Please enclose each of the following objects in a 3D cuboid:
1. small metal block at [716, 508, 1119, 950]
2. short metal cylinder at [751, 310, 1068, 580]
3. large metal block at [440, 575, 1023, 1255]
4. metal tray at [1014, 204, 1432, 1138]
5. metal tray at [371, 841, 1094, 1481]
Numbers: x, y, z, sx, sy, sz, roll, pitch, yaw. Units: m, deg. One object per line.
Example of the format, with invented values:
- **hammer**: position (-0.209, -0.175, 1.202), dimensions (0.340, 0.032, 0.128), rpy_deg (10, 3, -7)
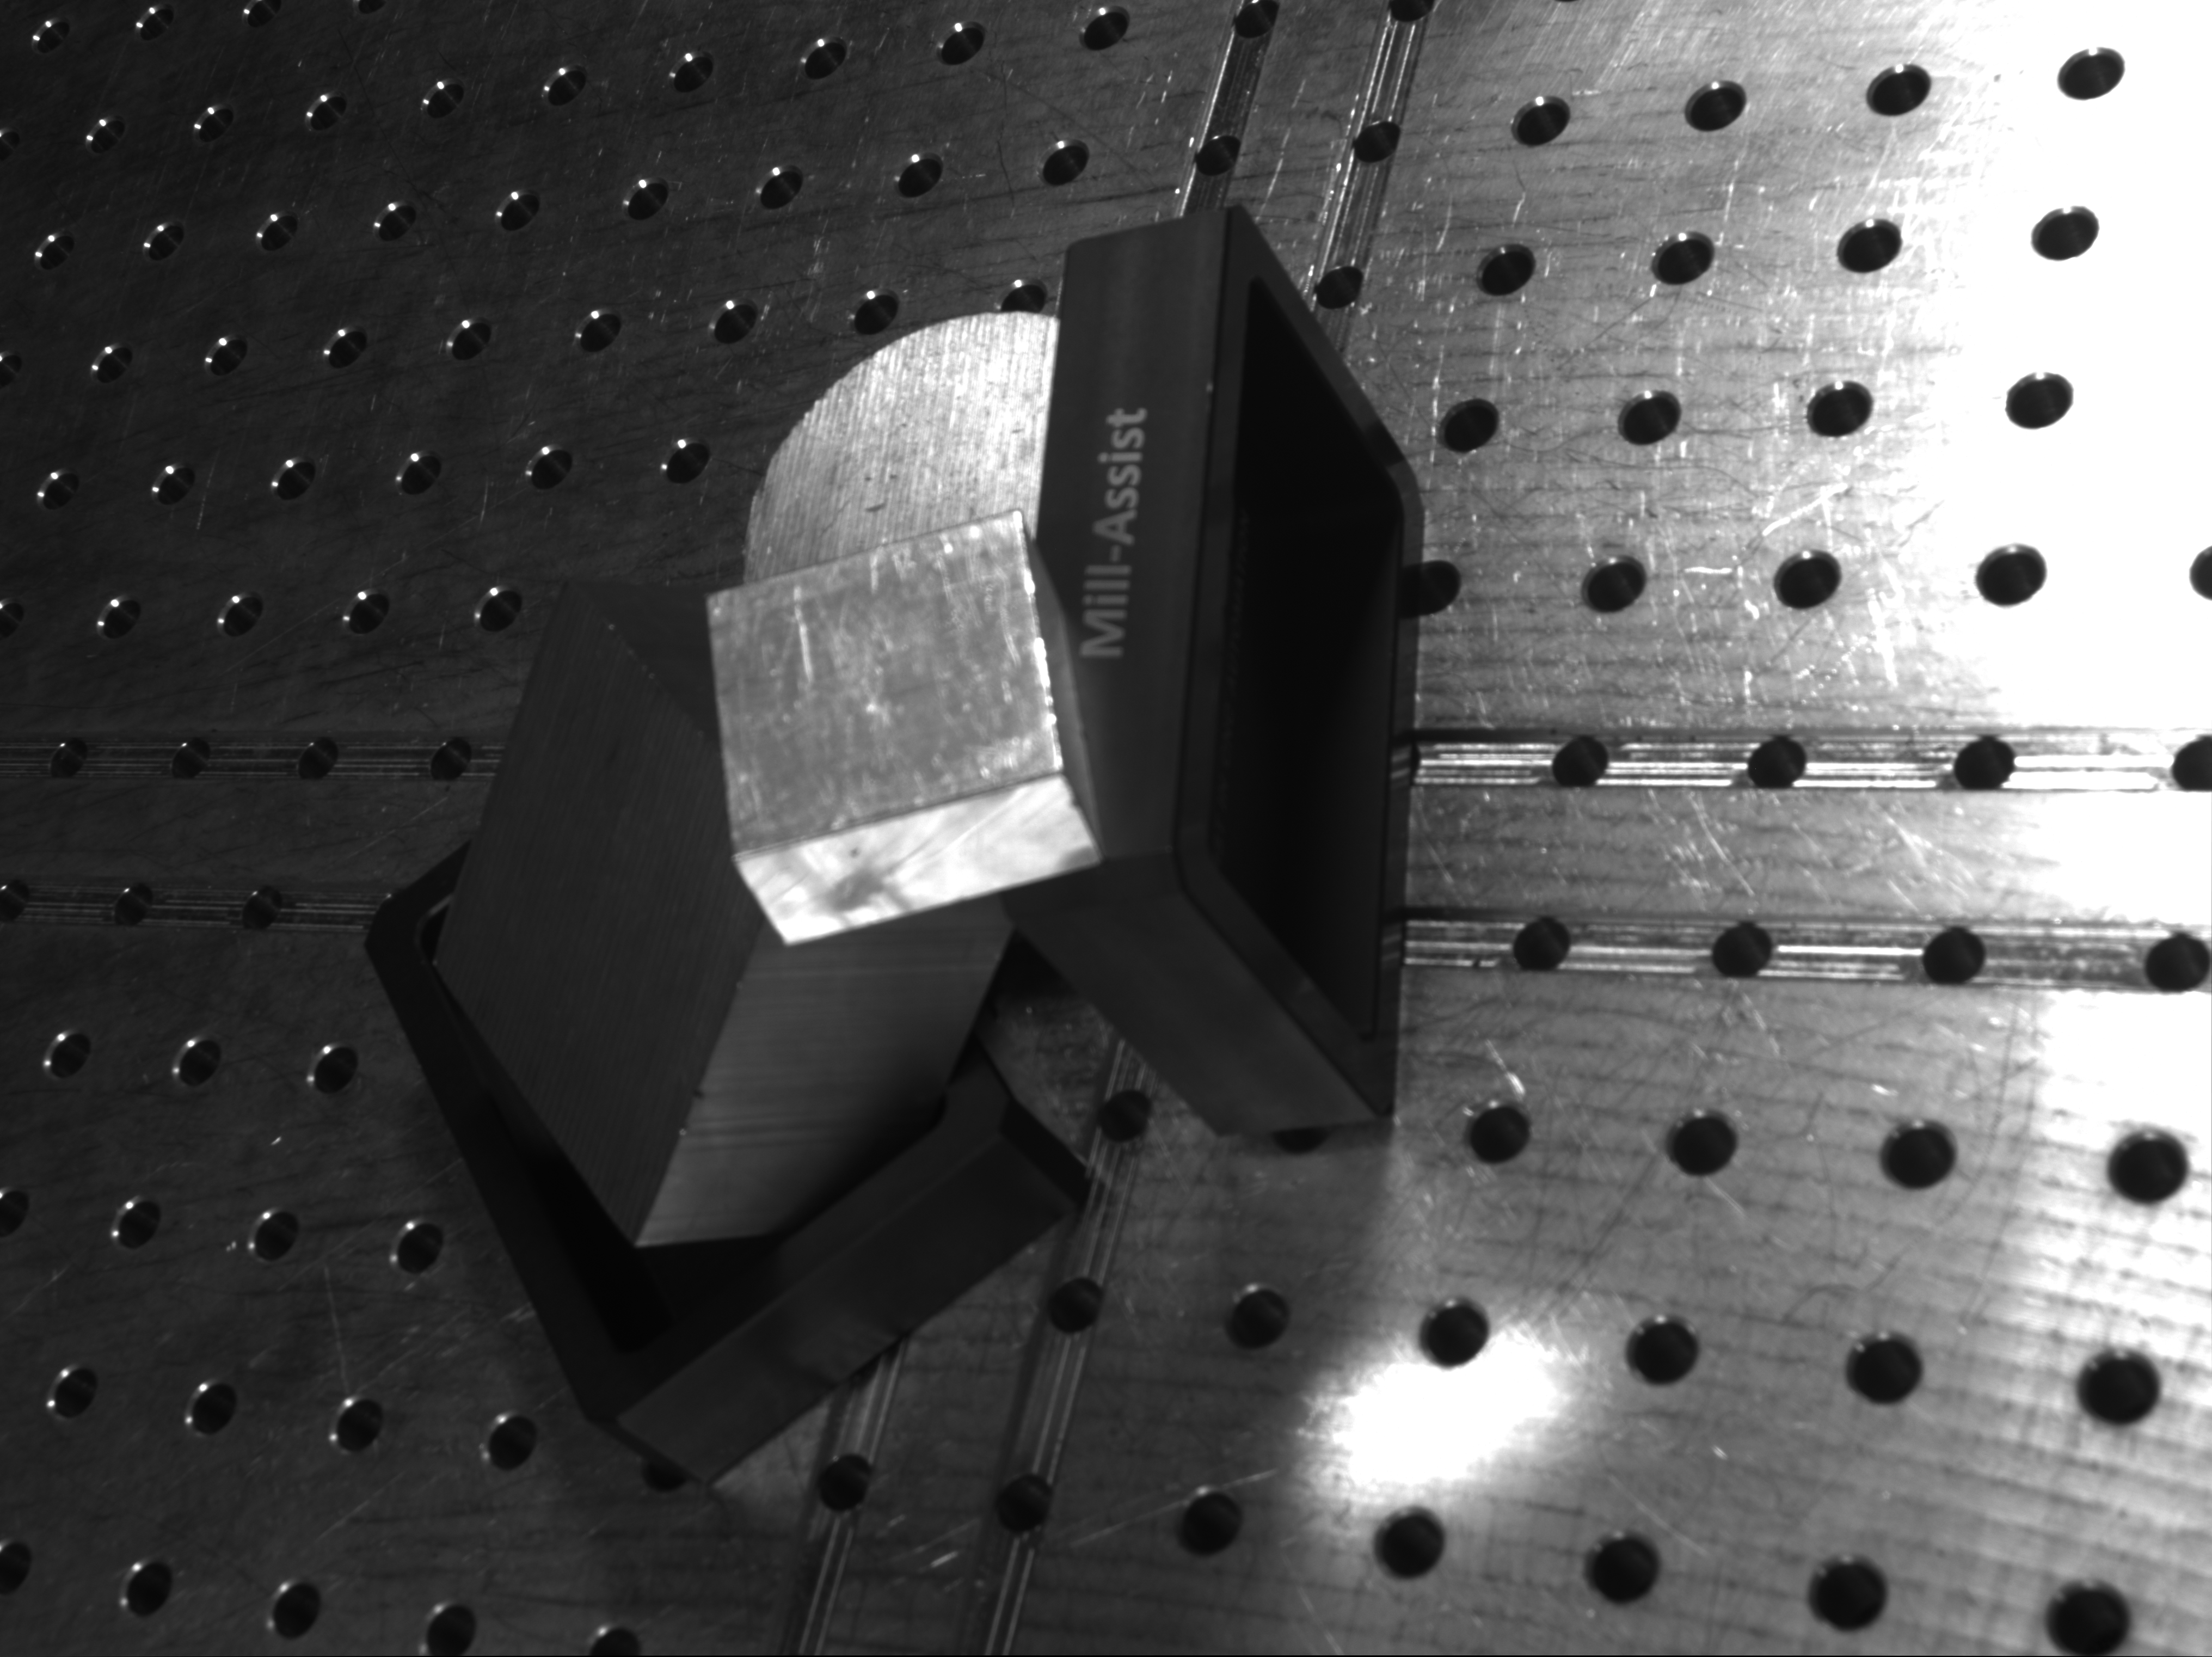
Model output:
- **small metal block**: position (-0.029, -0.015, 0.550), dimensions (0.050, 0.025, 0.050), rpy_deg (-15, 55, 7)
- **short metal cylinder**: position (-0.018, -0.047, 0.670), dimensions (0.080, 0.050, 0.080), rpy_deg (-13, 56, 21)
- **large metal block**: position (-0.062, 0.013, 0.616), dimensions (0.080, 0.050, 0.080), rpy_deg (46, 124, 39)
- **metal tray**: position (0.022, -0.026, 0.609), dimensions (0.030, 0.090, 0.130), rpy_deg (-9, 58, 24)
- **metal tray**: position (-0.070, 0.040, 0.656), dimensions (0.090, 0.030, 0.130), rpy_deg (-37, 51, 3)
